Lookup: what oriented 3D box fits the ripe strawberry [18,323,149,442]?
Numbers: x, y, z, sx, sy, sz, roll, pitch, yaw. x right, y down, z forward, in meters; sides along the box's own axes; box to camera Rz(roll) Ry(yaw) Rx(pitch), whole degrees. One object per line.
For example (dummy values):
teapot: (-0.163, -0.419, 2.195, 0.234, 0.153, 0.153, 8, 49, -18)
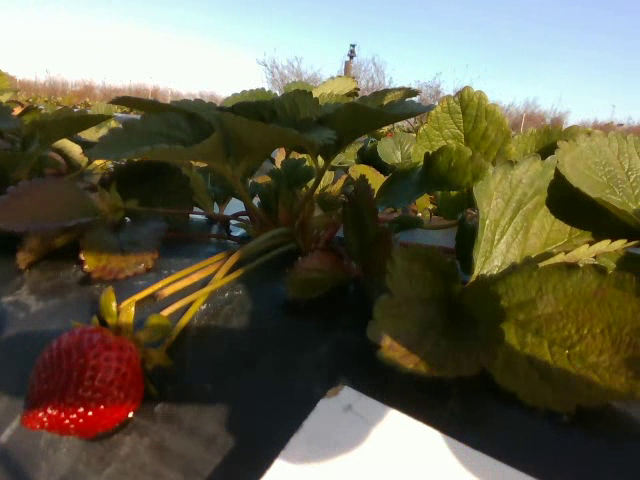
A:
ripe strawberry: (-0.073, 0.045, 0.189, 0.040, 0.037, 0.044, 3, 30, 21)
